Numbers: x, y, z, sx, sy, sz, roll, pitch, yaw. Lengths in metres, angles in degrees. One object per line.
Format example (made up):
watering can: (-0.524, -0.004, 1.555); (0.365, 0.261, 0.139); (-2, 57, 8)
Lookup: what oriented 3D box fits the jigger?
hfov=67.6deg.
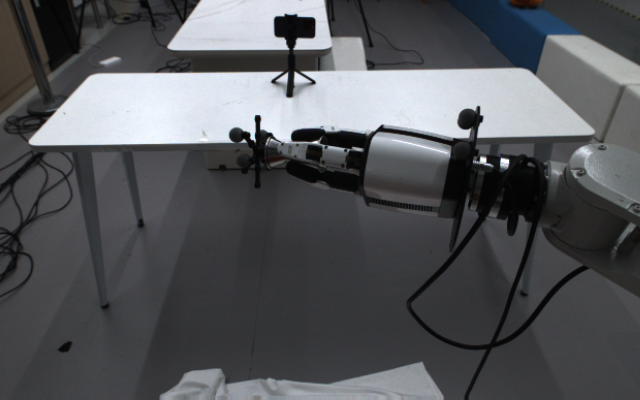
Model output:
jigger: (-0.020, -0.060, 0.580); (0.071, 0.043, 0.043); (3, 34, 17)
